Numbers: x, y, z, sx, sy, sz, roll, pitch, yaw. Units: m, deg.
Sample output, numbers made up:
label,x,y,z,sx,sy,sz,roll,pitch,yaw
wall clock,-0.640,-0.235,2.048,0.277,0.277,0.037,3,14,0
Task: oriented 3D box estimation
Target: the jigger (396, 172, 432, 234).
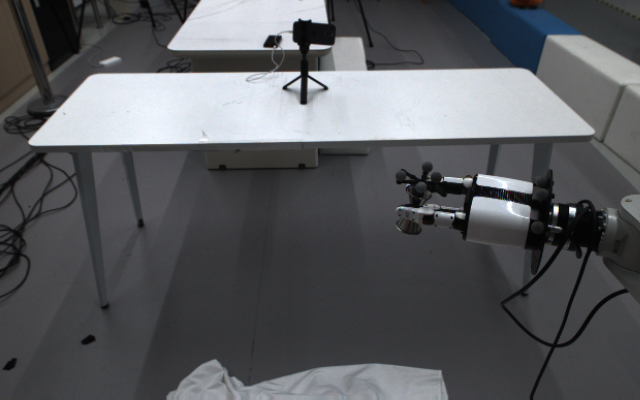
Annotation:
label,x,y,z,sx,sy,sz,roll,pitch,yaw
jigger,0.150,0.015,0.778,0.043,0.071,0.043,9,30,-5
